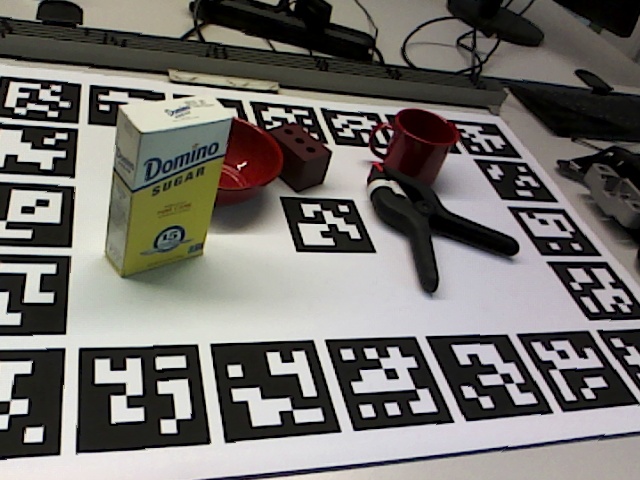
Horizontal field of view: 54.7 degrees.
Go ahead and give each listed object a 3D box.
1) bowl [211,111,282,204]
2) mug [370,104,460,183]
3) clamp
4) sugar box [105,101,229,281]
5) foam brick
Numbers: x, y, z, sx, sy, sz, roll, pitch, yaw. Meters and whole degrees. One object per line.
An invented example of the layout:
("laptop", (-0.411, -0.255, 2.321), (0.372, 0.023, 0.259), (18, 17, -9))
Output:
("bowl", (-0.131, -0.093, 0.753), (0.161, 0.055, 0.162), (11, 41, -10))
("mug", (0.127, -0.137, 0.878), (0.117, 0.081, 0.093), (21, 40, -4))
("clamp", (0.124, -0.035, 0.792), (0.164, 0.036, 0.204), (-21, 55, -34))
("sugar box", (-0.151, -0.044, 0.598), (0.092, 0.176, 0.045), (-20, 56, -39))
("foam brick", (-0.031, -0.105, 0.817), (0.052, 0.051, 0.078), (-24, 57, -38))
